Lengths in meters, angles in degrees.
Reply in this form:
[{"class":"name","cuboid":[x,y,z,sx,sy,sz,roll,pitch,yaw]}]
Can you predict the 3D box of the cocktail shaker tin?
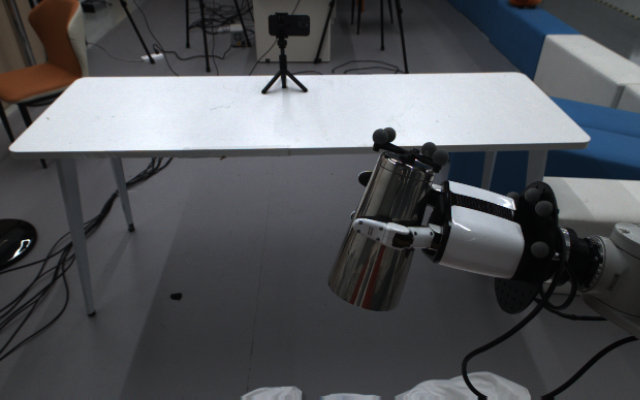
[{"class":"cocktail shaker tin","cuboid":[0.077,0.033,0.574,0.093,0.170,0.093,15,17,-5]}]
